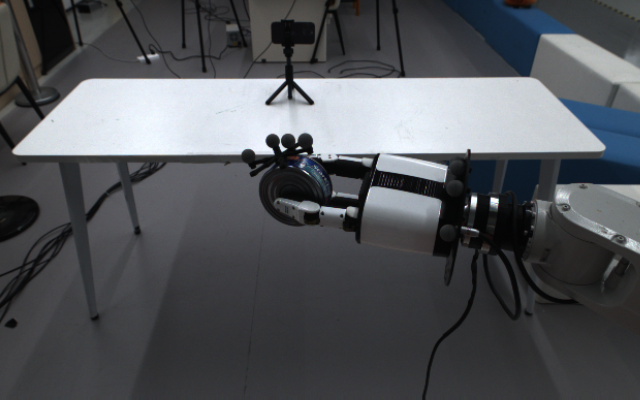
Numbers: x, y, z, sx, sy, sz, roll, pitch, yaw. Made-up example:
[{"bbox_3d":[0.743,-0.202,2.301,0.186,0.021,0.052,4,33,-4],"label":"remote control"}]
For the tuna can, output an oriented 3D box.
[{"bbox_3d":[-0.026,-0.005,0.589,0.085,0.085,0.034,11,34,13],"label":"tuna can"}]
